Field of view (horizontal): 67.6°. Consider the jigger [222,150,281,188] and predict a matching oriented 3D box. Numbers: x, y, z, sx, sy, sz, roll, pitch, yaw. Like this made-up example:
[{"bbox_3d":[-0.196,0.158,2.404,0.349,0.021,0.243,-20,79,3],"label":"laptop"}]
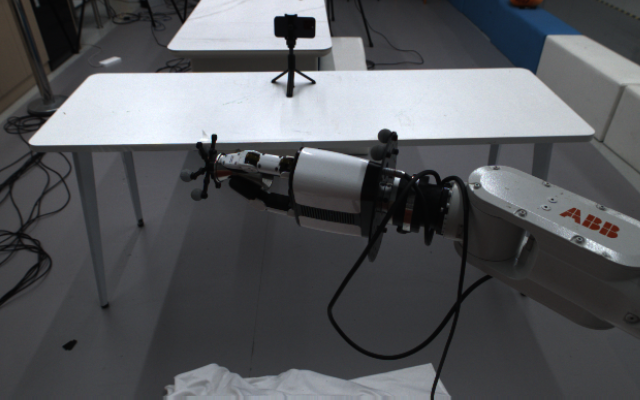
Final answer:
[{"bbox_3d":[-0.093,-0.043,0.632,0.071,0.043,0.043,8,35,15],"label":"jigger"}]
